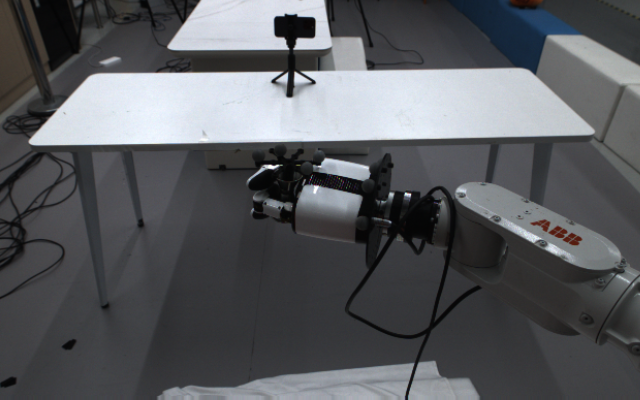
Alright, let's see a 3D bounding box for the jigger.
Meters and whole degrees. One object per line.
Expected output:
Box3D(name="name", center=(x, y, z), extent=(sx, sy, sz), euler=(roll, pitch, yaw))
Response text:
Box3D(name="jigger", center=(-0.043, -0.008, 0.682), extent=(0.043, 0.071, 0.043), euler=(4, 31, -2))
